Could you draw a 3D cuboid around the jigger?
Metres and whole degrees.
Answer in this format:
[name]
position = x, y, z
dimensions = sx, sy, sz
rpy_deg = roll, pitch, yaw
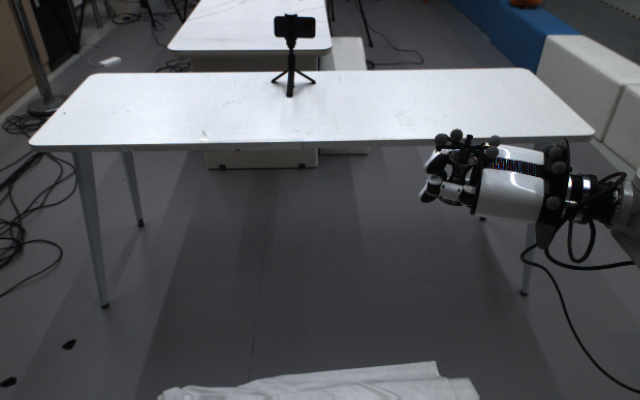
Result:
[jigger]
position = 0.205, -0.033, 0.713
dimensions = 0.043, 0.071, 0.043
rpy_deg = 4, 31, -2
